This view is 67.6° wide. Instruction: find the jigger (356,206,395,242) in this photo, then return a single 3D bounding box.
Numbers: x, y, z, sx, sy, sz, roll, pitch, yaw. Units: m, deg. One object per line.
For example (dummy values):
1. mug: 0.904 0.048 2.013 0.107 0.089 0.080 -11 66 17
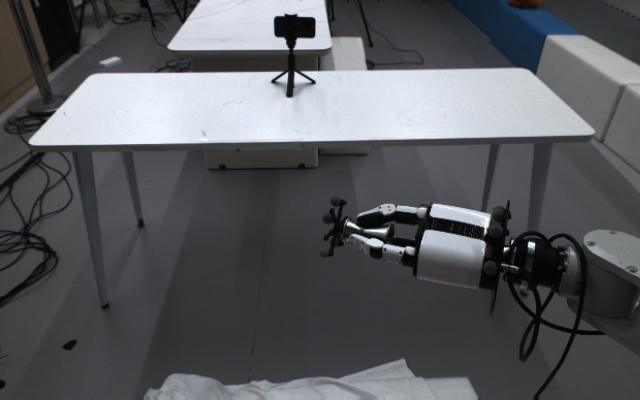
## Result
1. jigger: 0.078 0.048 0.720 0.071 0.043 0.043 10 35 22
